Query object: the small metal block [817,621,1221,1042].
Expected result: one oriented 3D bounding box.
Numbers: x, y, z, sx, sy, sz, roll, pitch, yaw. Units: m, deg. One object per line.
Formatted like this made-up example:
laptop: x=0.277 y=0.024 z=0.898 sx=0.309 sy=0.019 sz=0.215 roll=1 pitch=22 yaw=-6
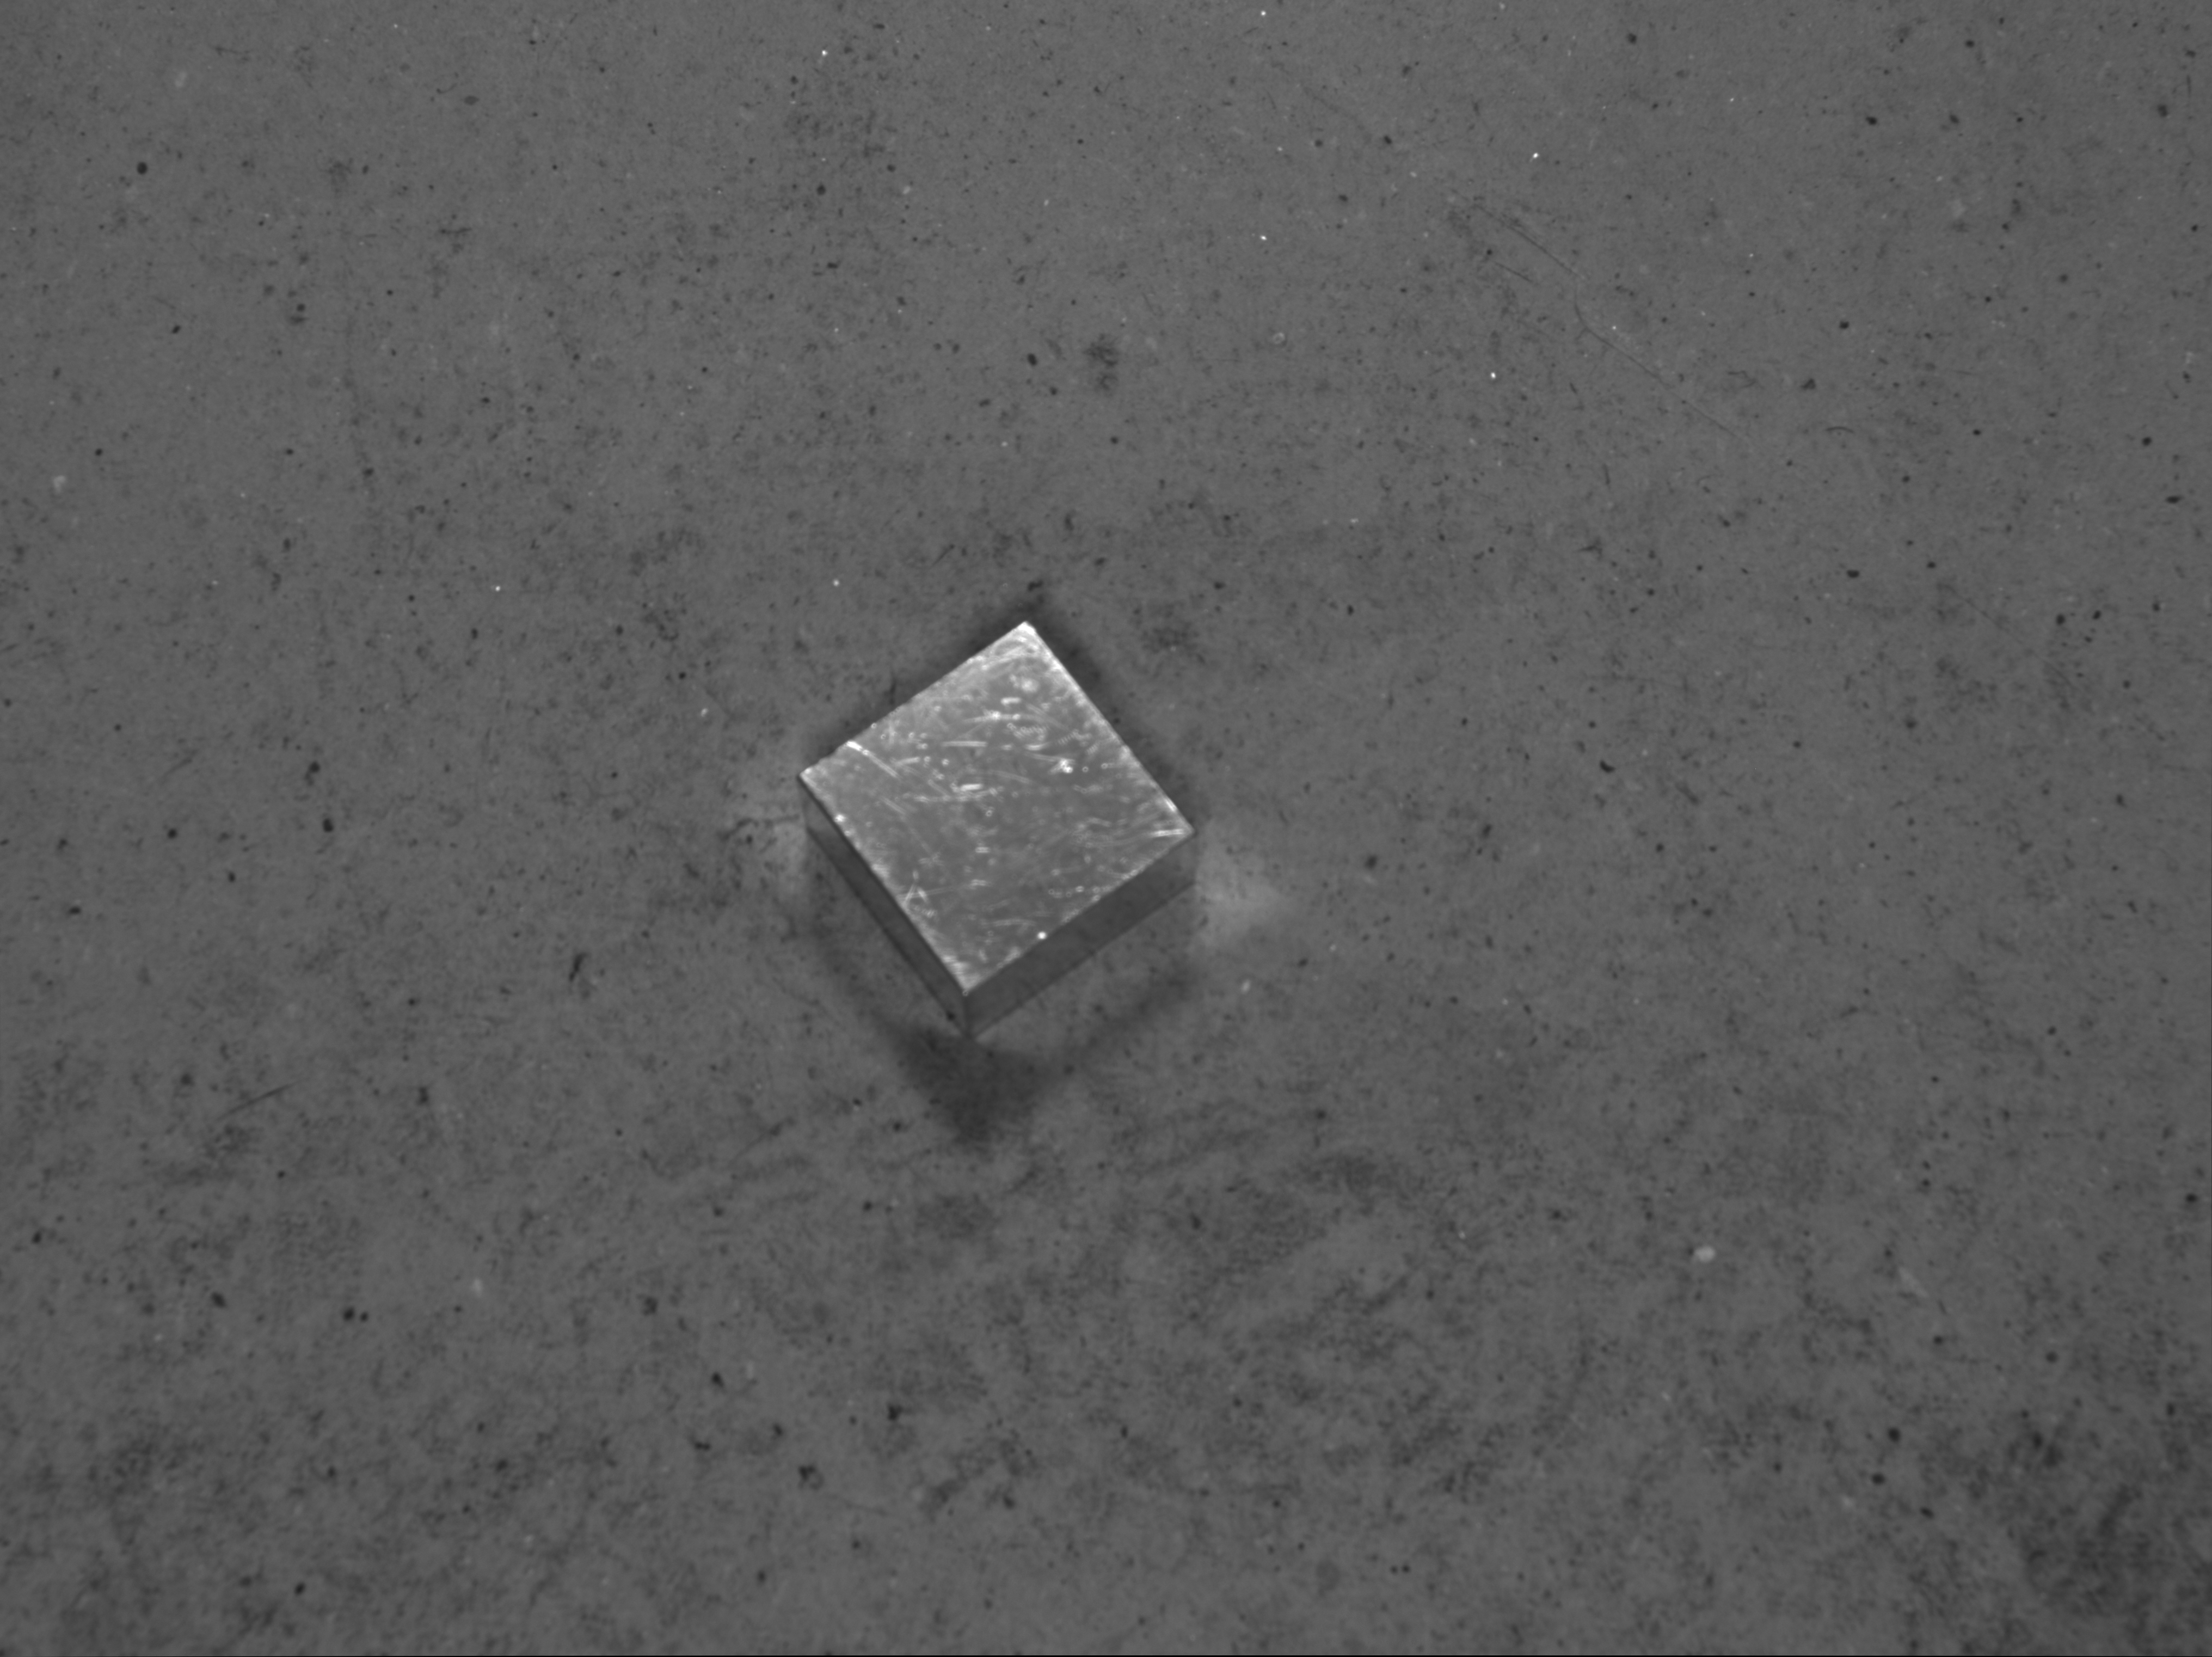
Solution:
small metal block: x=-0.015 y=0.001 z=0.645 sx=0.050 sy=0.025 sz=0.050 roll=-35 pitch=74 yaw=-12
